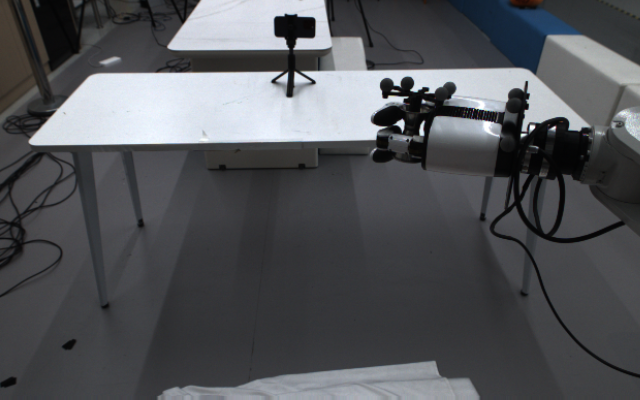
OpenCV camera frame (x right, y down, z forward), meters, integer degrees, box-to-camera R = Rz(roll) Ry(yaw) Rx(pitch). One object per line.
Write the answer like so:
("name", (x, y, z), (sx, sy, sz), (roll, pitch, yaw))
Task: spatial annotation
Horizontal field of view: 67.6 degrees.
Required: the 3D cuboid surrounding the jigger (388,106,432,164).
("jigger", (0.124, -0.089, 0.644), (0.043, 0.071, 0.043), (3, 25, -1))
